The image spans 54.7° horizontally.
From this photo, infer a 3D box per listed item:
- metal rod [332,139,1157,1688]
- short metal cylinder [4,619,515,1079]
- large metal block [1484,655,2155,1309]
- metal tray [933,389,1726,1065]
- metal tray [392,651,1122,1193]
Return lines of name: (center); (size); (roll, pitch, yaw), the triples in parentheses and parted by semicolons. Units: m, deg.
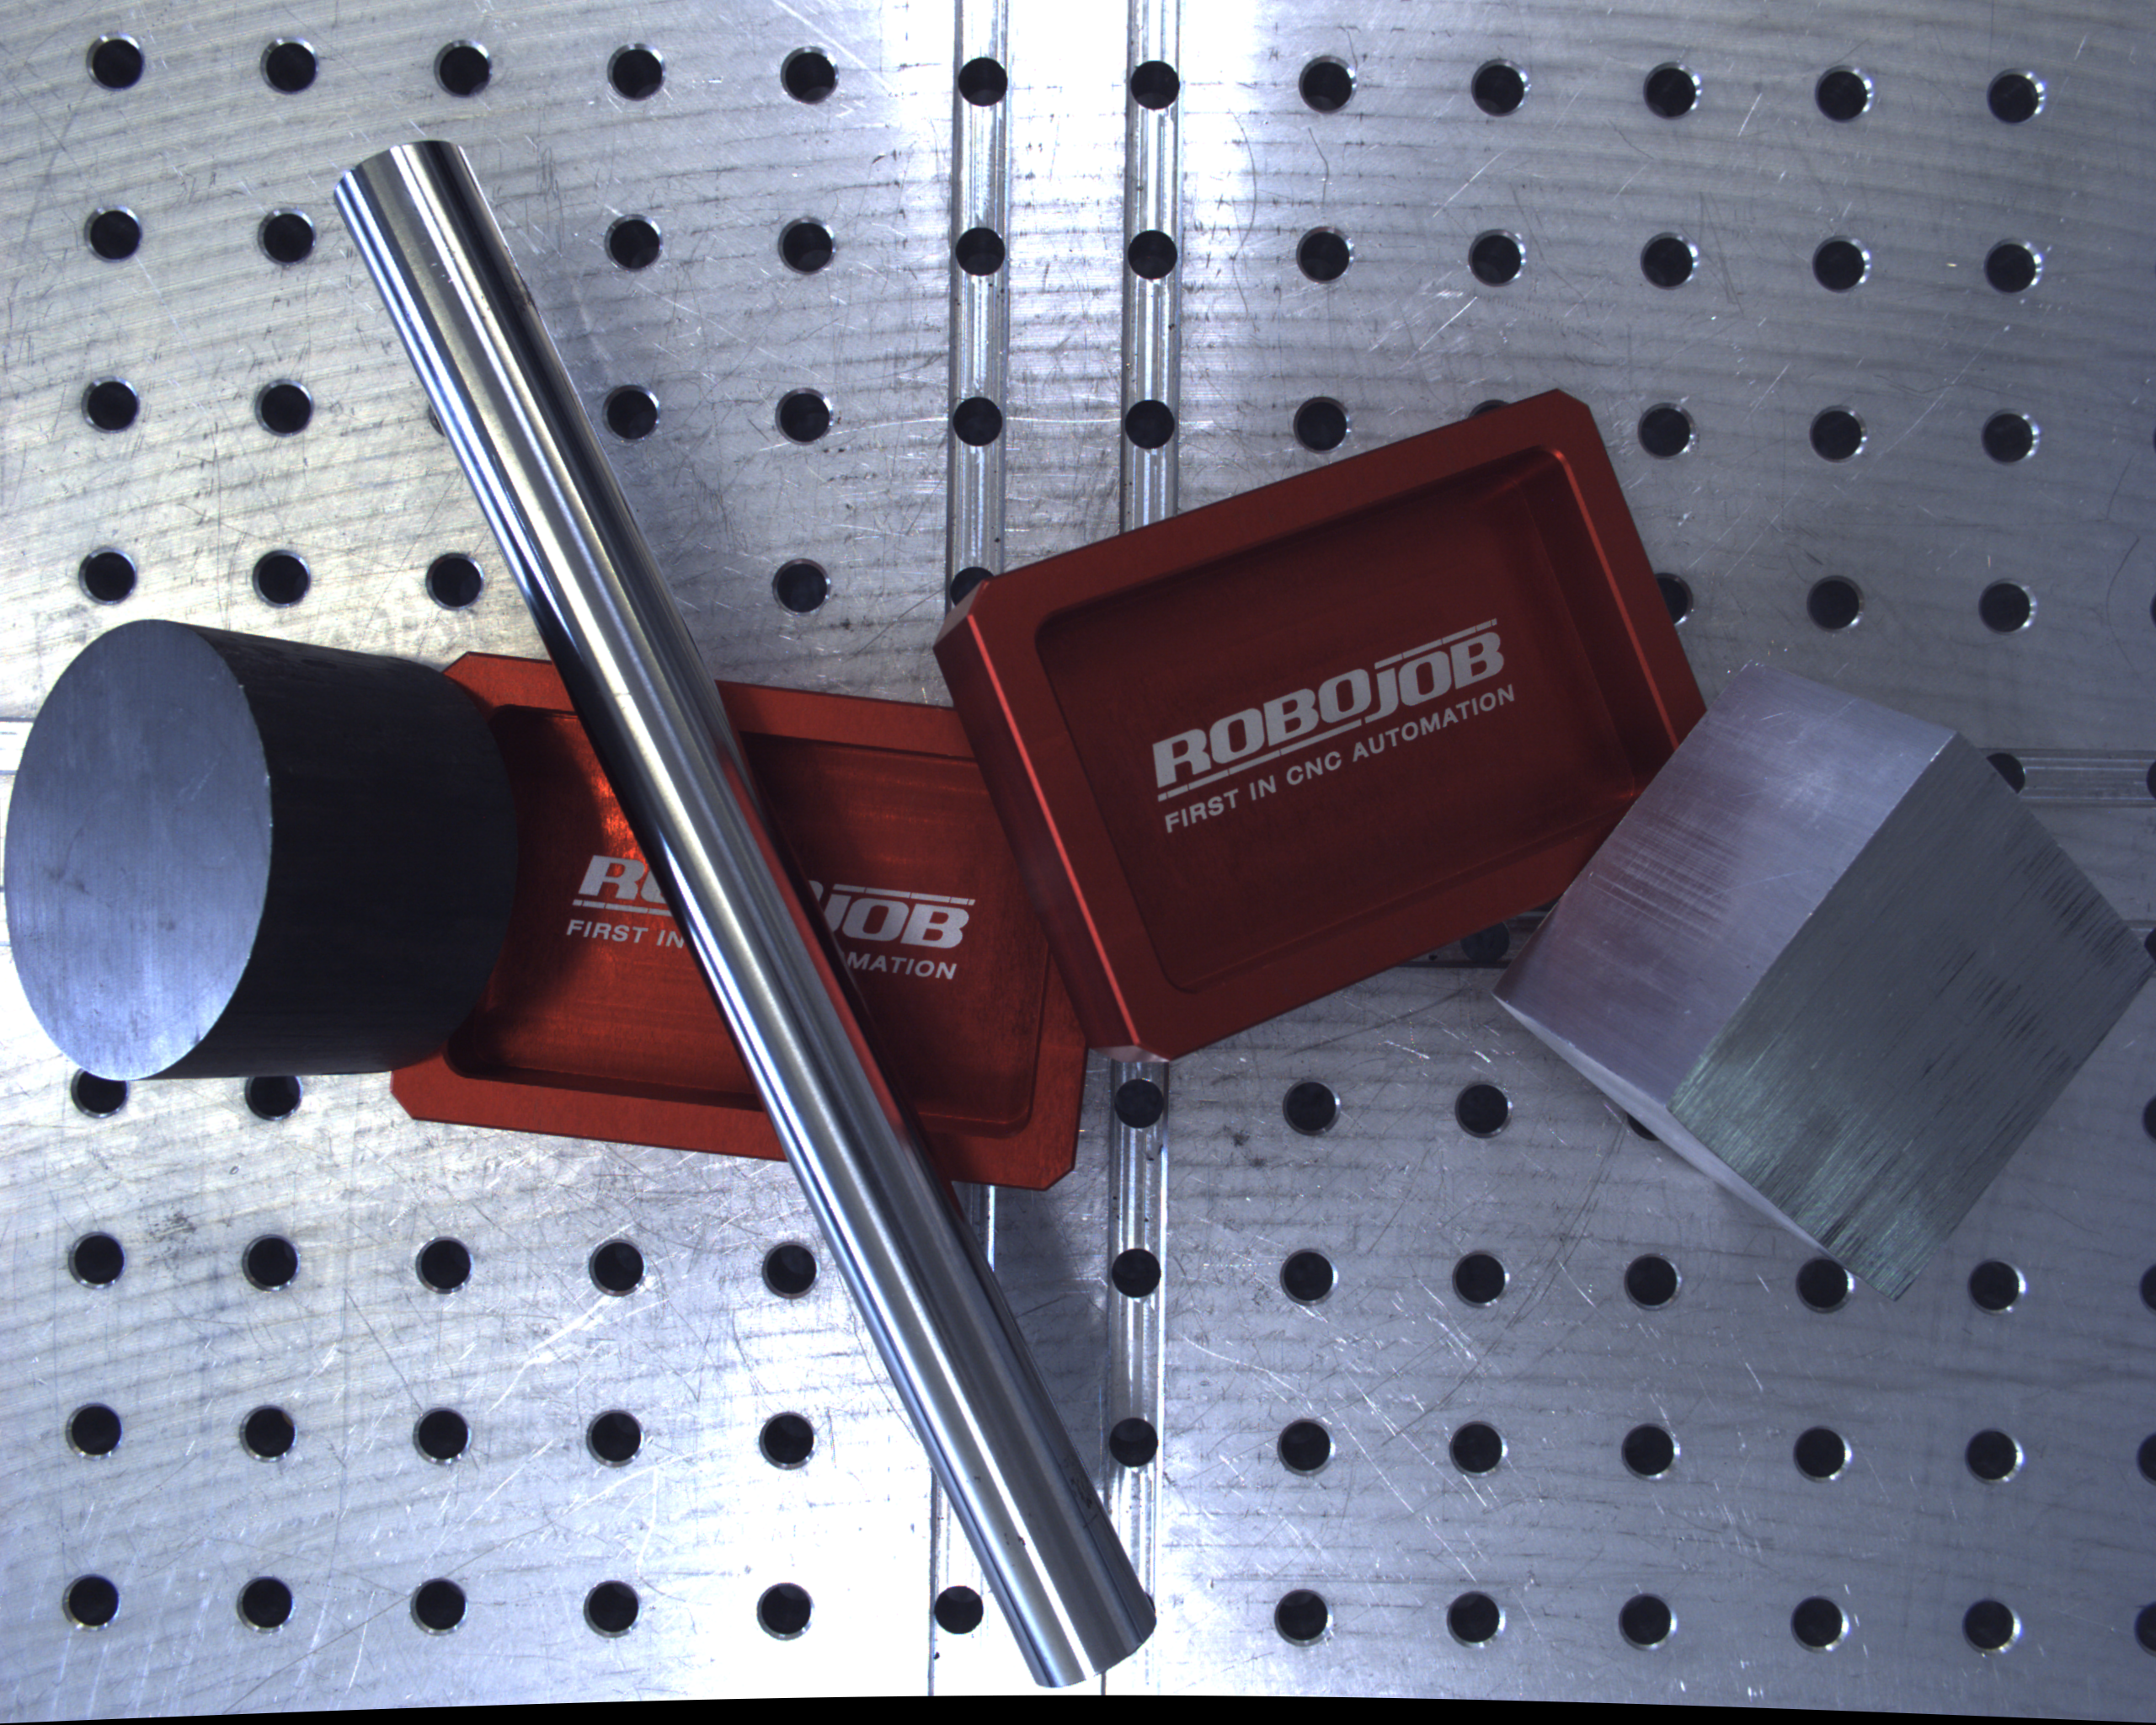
metal rod: (-0.061, 0.009, 0.383); (0.025, 0.025, 0.299); (-25, 90, 0)
short metal cylinder: (-0.150, -0.001, 0.381); (0.080, 0.050, 0.080); (-3, 85, 34)
large metal block: (0.137, 0.022, 0.384); (0.080, 0.050, 0.080); (38, 90, -31)
metal tray: (0.050, -0.026, 0.392); (0.131, 0.030, 0.090); (-21, 90, -17)
metal tray: (-0.060, 0.011, 0.410); (0.131, 0.030, 0.089); (7, 90, 0)
